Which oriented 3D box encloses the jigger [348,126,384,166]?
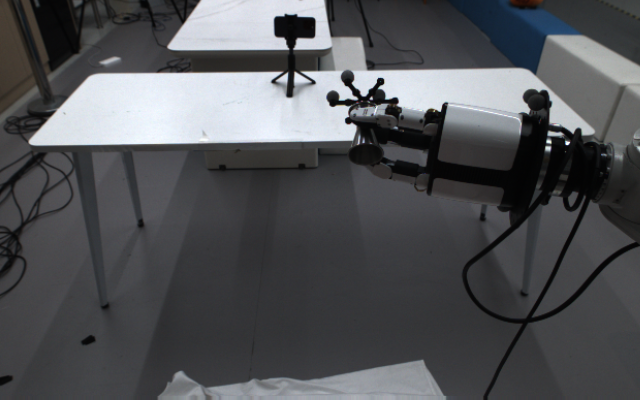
[{"bbox_3d":[0.055,-0.086,0.595,0.043,0.043,0.071,2,59,-1],"label":"jigger"}]
